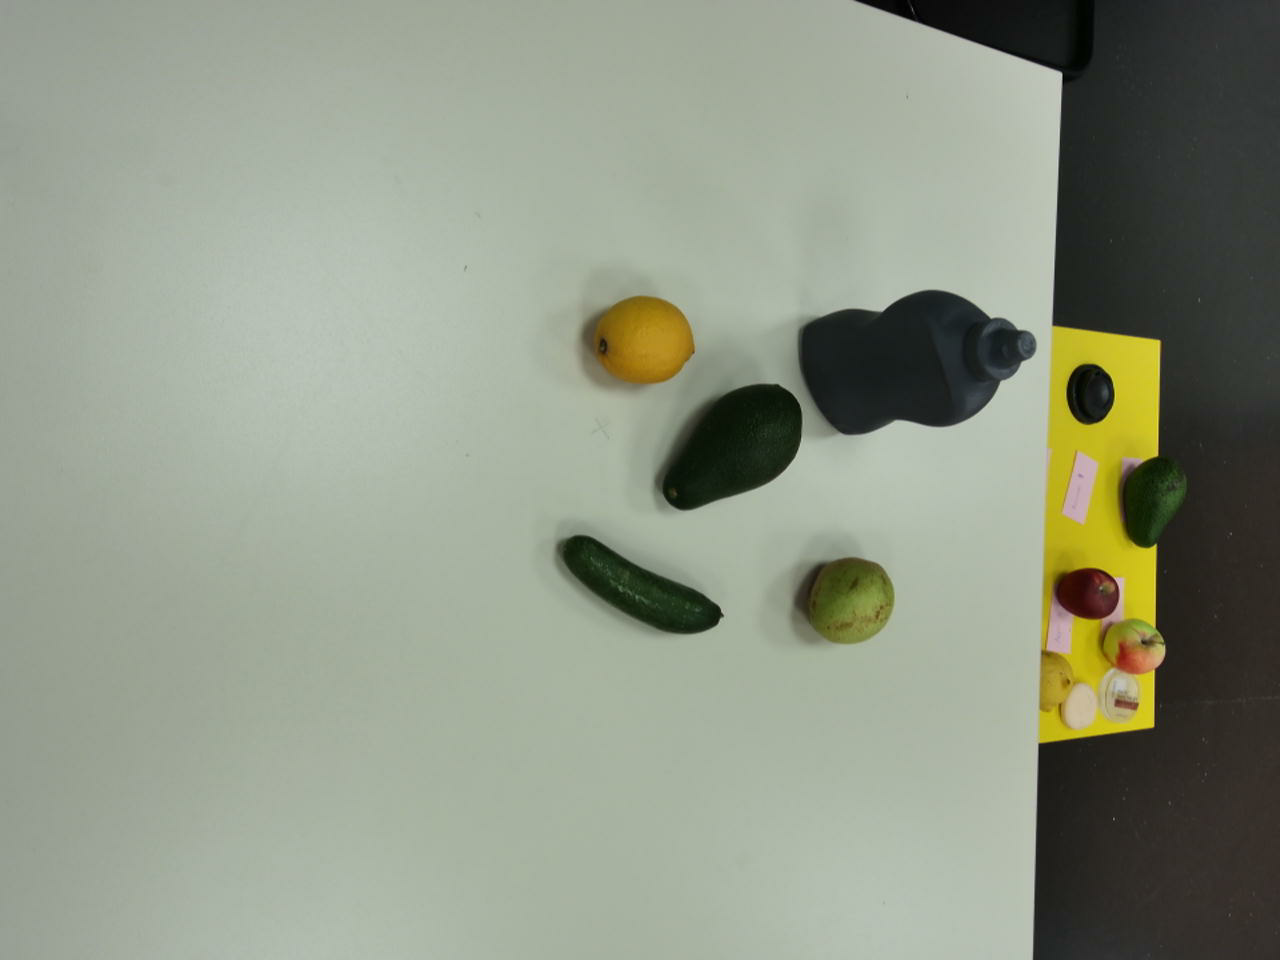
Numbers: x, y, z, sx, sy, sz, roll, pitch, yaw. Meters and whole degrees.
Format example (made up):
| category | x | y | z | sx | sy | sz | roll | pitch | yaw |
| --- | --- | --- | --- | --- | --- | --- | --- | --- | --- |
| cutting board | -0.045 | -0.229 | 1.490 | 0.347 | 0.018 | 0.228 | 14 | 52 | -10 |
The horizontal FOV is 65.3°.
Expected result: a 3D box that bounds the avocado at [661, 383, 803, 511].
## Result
| category | x | y | z | sx | sy | sz | roll | pitch | yaw |
| --- | --- | --- | --- | --- | --- | --- | --- | --- | --- |
| avocado | 0.065 | -0.026 | 0.707 | 0.109 | 0.071 | 0.072 | -21 | 100 | -26 |
